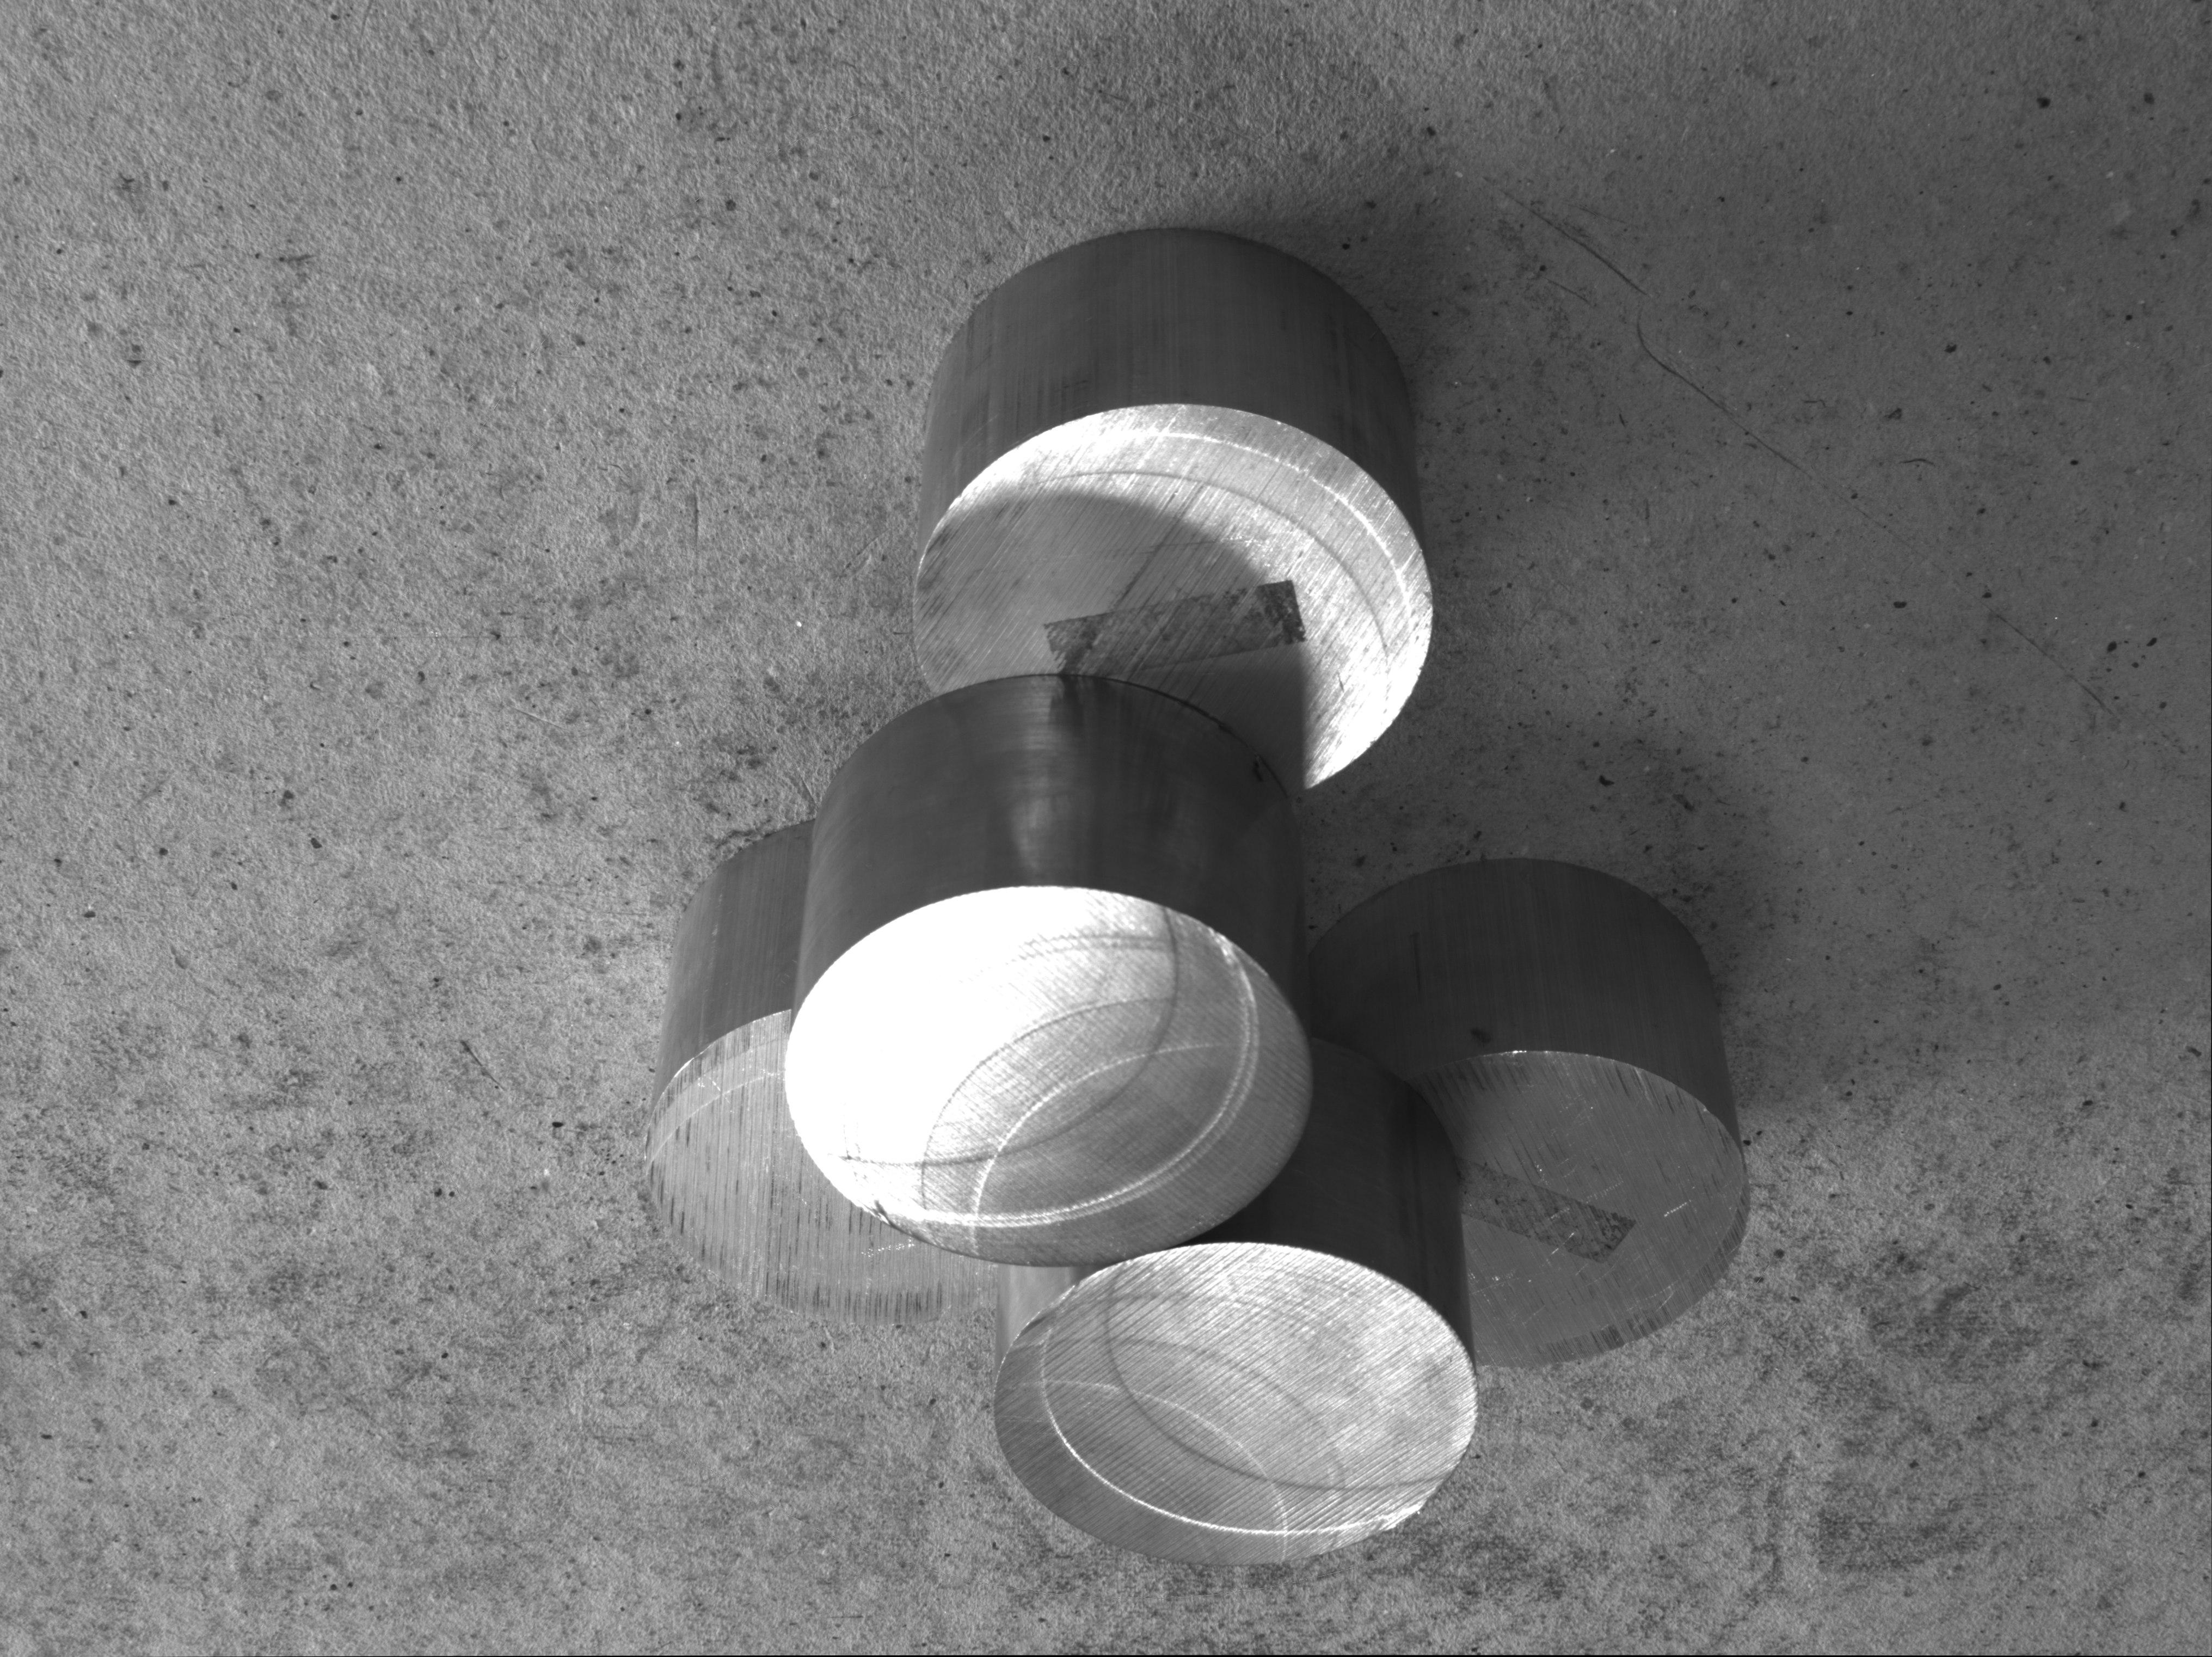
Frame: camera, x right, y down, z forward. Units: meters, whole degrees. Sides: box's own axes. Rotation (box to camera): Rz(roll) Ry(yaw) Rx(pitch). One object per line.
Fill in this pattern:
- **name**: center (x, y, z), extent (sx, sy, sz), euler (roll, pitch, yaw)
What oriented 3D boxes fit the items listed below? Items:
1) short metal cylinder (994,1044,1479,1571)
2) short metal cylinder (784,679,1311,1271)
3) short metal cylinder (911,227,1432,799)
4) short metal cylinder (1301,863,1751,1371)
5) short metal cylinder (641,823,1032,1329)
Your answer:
- **short metal cylinder**: center (0.021, 0.081, 0.624), extent (0.080, 0.050, 0.080), euler (0, 130, 0)
- **short metal cylinder**: center (-0.009, 0.024, 0.576), extent (0.080, 0.050, 0.080), euler (0, 130, 0)
- **short metal cylinder**: center (0.010, -0.048, 0.583), extent (0.080, 0.050, 0.080), euler (0, 130, 0)
- **short metal cylinder**: center (0.074, 0.053, 0.667), extent (0.080, 0.050, 0.080), euler (0, 130, 0)
- **short metal cylinder**: center (-0.041, 0.044, 0.660), extent (0.080, 0.050, 0.080), euler (0, 130, 0)
